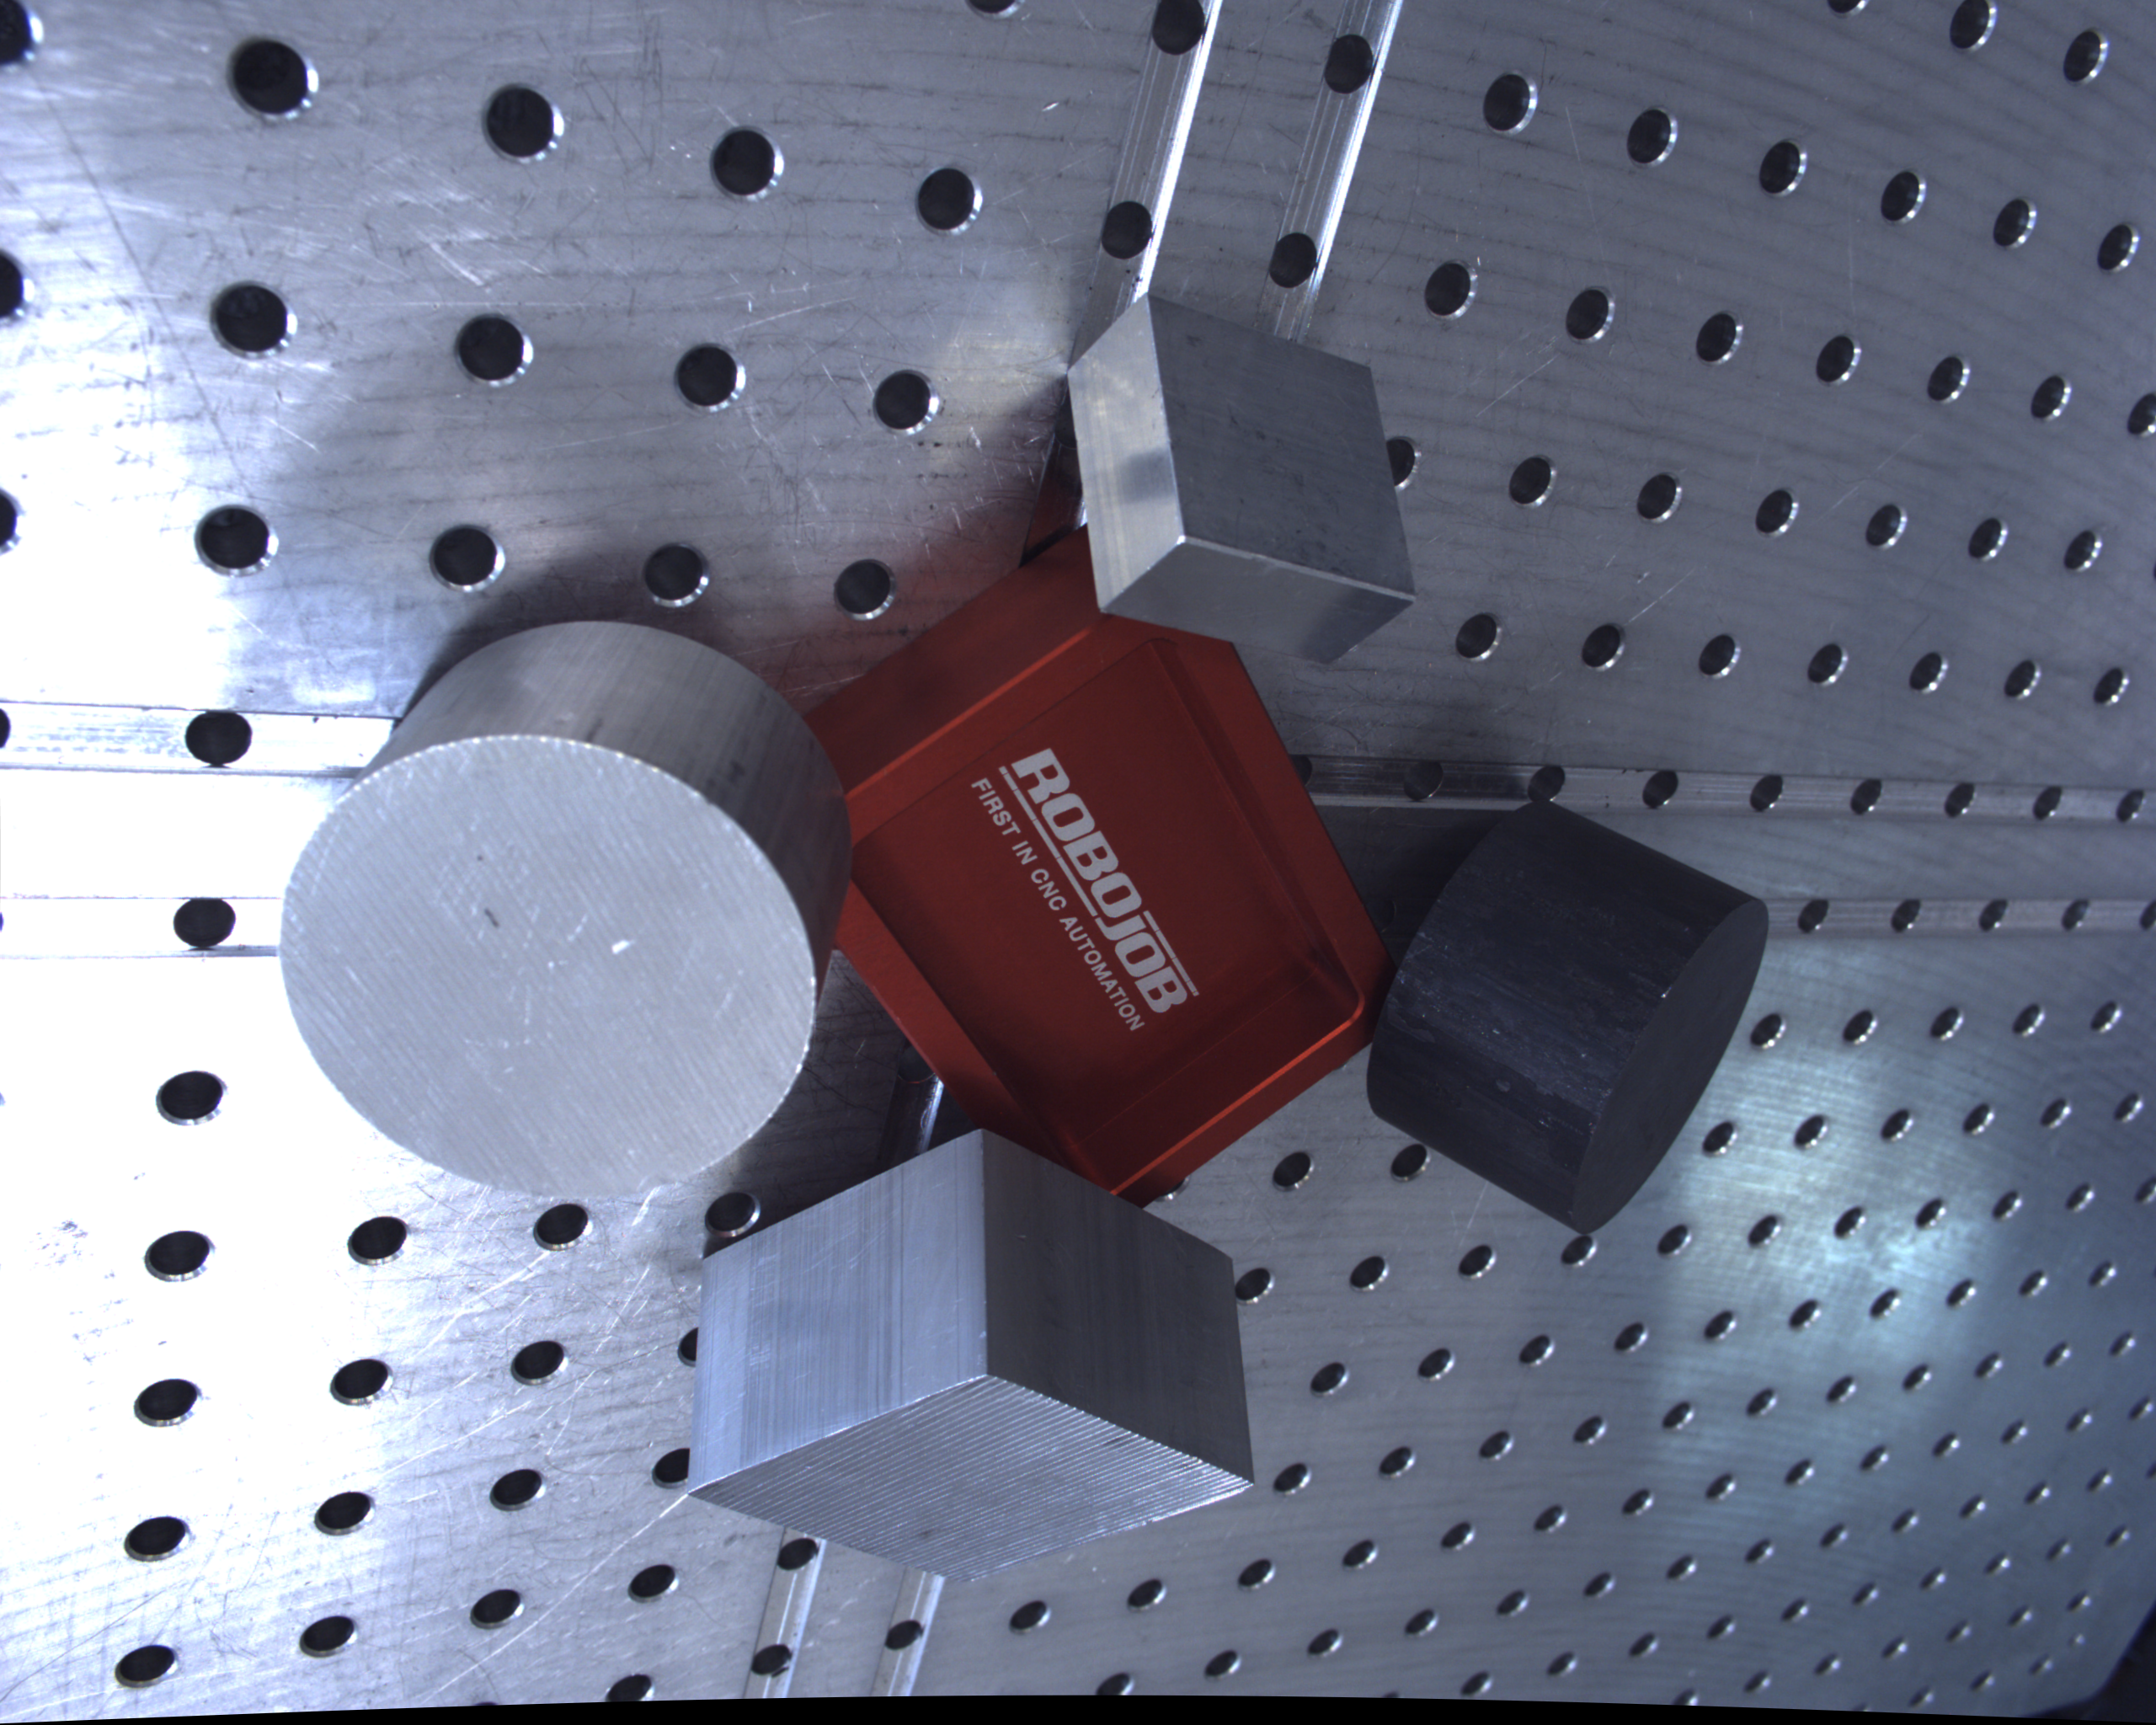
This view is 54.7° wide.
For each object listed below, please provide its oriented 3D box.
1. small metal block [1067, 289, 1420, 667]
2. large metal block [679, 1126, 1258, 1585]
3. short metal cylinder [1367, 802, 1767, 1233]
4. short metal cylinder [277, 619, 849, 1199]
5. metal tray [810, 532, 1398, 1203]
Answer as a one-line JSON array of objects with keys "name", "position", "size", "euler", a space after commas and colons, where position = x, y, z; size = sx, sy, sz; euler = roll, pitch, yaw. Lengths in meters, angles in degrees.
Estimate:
[{"name": "small metal block", "position": [0.029, -0.066, 0.366], "size": [0.050, 0.050, 0.025], "euler": [9, 151, -32]}, {"name": "large metal block", "position": [-0.022, 0.104, 0.425], "size": [0.080, 0.050, 0.080], "euler": [-28, 136, 29]}, {"name": "short metal cylinder", "position": [0.107, 0.033, 0.454], "size": [0.080, 0.050, 0.079], "euler": [-39, 145, -34]}, {"name": "short metal cylinder", "position": [-0.080, 0.007, 0.336], "size": [0.081, 0.050, 0.079], "euler": [0, 116, 0]}, {"name": "metal tray", "position": [0.004, 0.008, 0.414], "size": [0.090, 0.030, 0.130], "euler": [-36, 129, -5]}]
